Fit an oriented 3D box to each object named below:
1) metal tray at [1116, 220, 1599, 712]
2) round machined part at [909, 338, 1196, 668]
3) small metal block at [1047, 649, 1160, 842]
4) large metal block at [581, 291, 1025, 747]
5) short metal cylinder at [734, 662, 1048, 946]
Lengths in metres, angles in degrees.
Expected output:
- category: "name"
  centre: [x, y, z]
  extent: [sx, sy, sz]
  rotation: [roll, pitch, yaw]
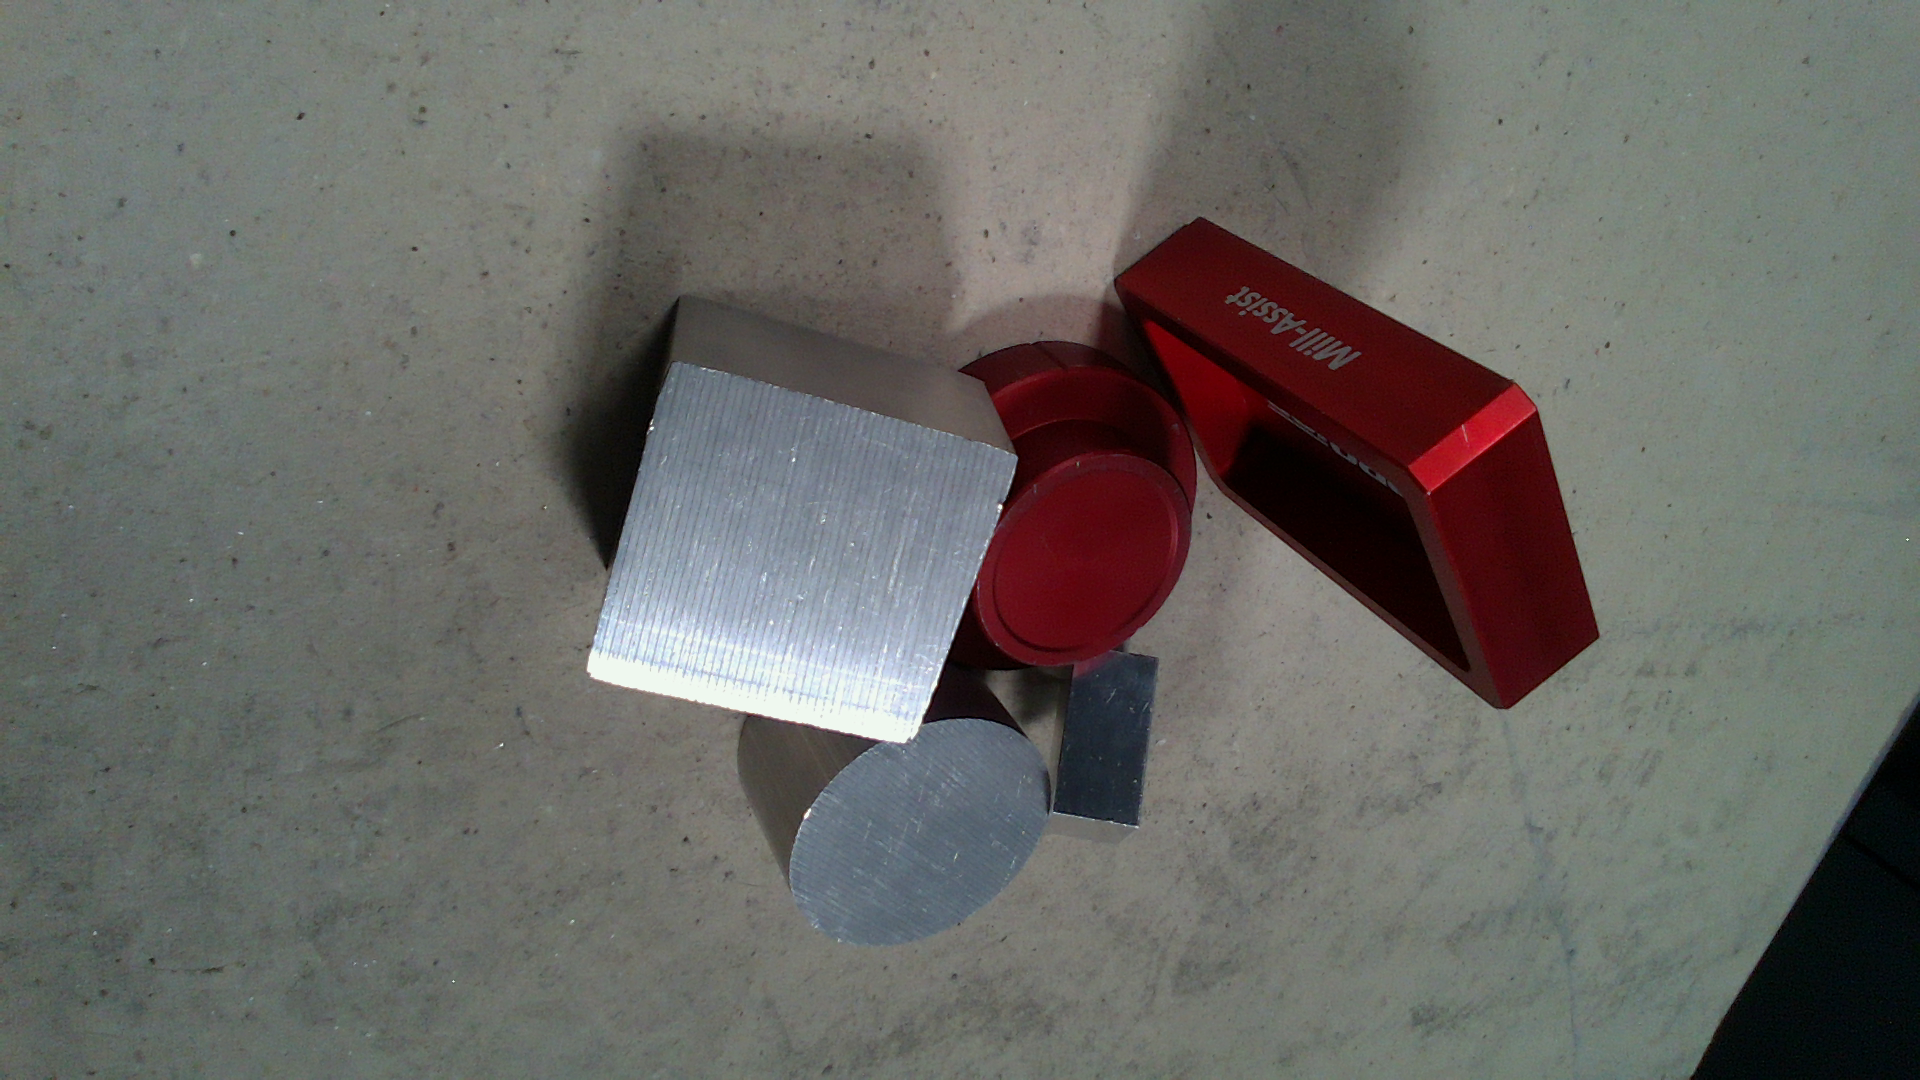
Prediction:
- category: "metal tray"
  centre: [0.100, -0.023, 0.360]
  extent: [0.030, 0.130, 0.090]
  rotation: [-38, 129, -3]
- category: "round machined part"
  centre: [0.026, -0.004, 0.391]
  extent: [0.098, 0.042, 0.098]
  rotation: [-14, 124, -21]
- category: "small metal block"
  centre: [0.042, 0.063, 0.421]
  extent: [0.025, 0.050, 0.050]
  rotation: [9, 162, 2]
- category: "large metal block"
  centre: [-0.040, -0.005, 0.333]
  extent: [0.080, 0.050, 0.080]
  rotation: [15, 112, -16]
- category: "short metal cylinder"
  centre: [-0.021, 0.071, 0.406]
  extent: [0.080, 0.050, 0.080]
  rotation: [-14, 124, -21]
